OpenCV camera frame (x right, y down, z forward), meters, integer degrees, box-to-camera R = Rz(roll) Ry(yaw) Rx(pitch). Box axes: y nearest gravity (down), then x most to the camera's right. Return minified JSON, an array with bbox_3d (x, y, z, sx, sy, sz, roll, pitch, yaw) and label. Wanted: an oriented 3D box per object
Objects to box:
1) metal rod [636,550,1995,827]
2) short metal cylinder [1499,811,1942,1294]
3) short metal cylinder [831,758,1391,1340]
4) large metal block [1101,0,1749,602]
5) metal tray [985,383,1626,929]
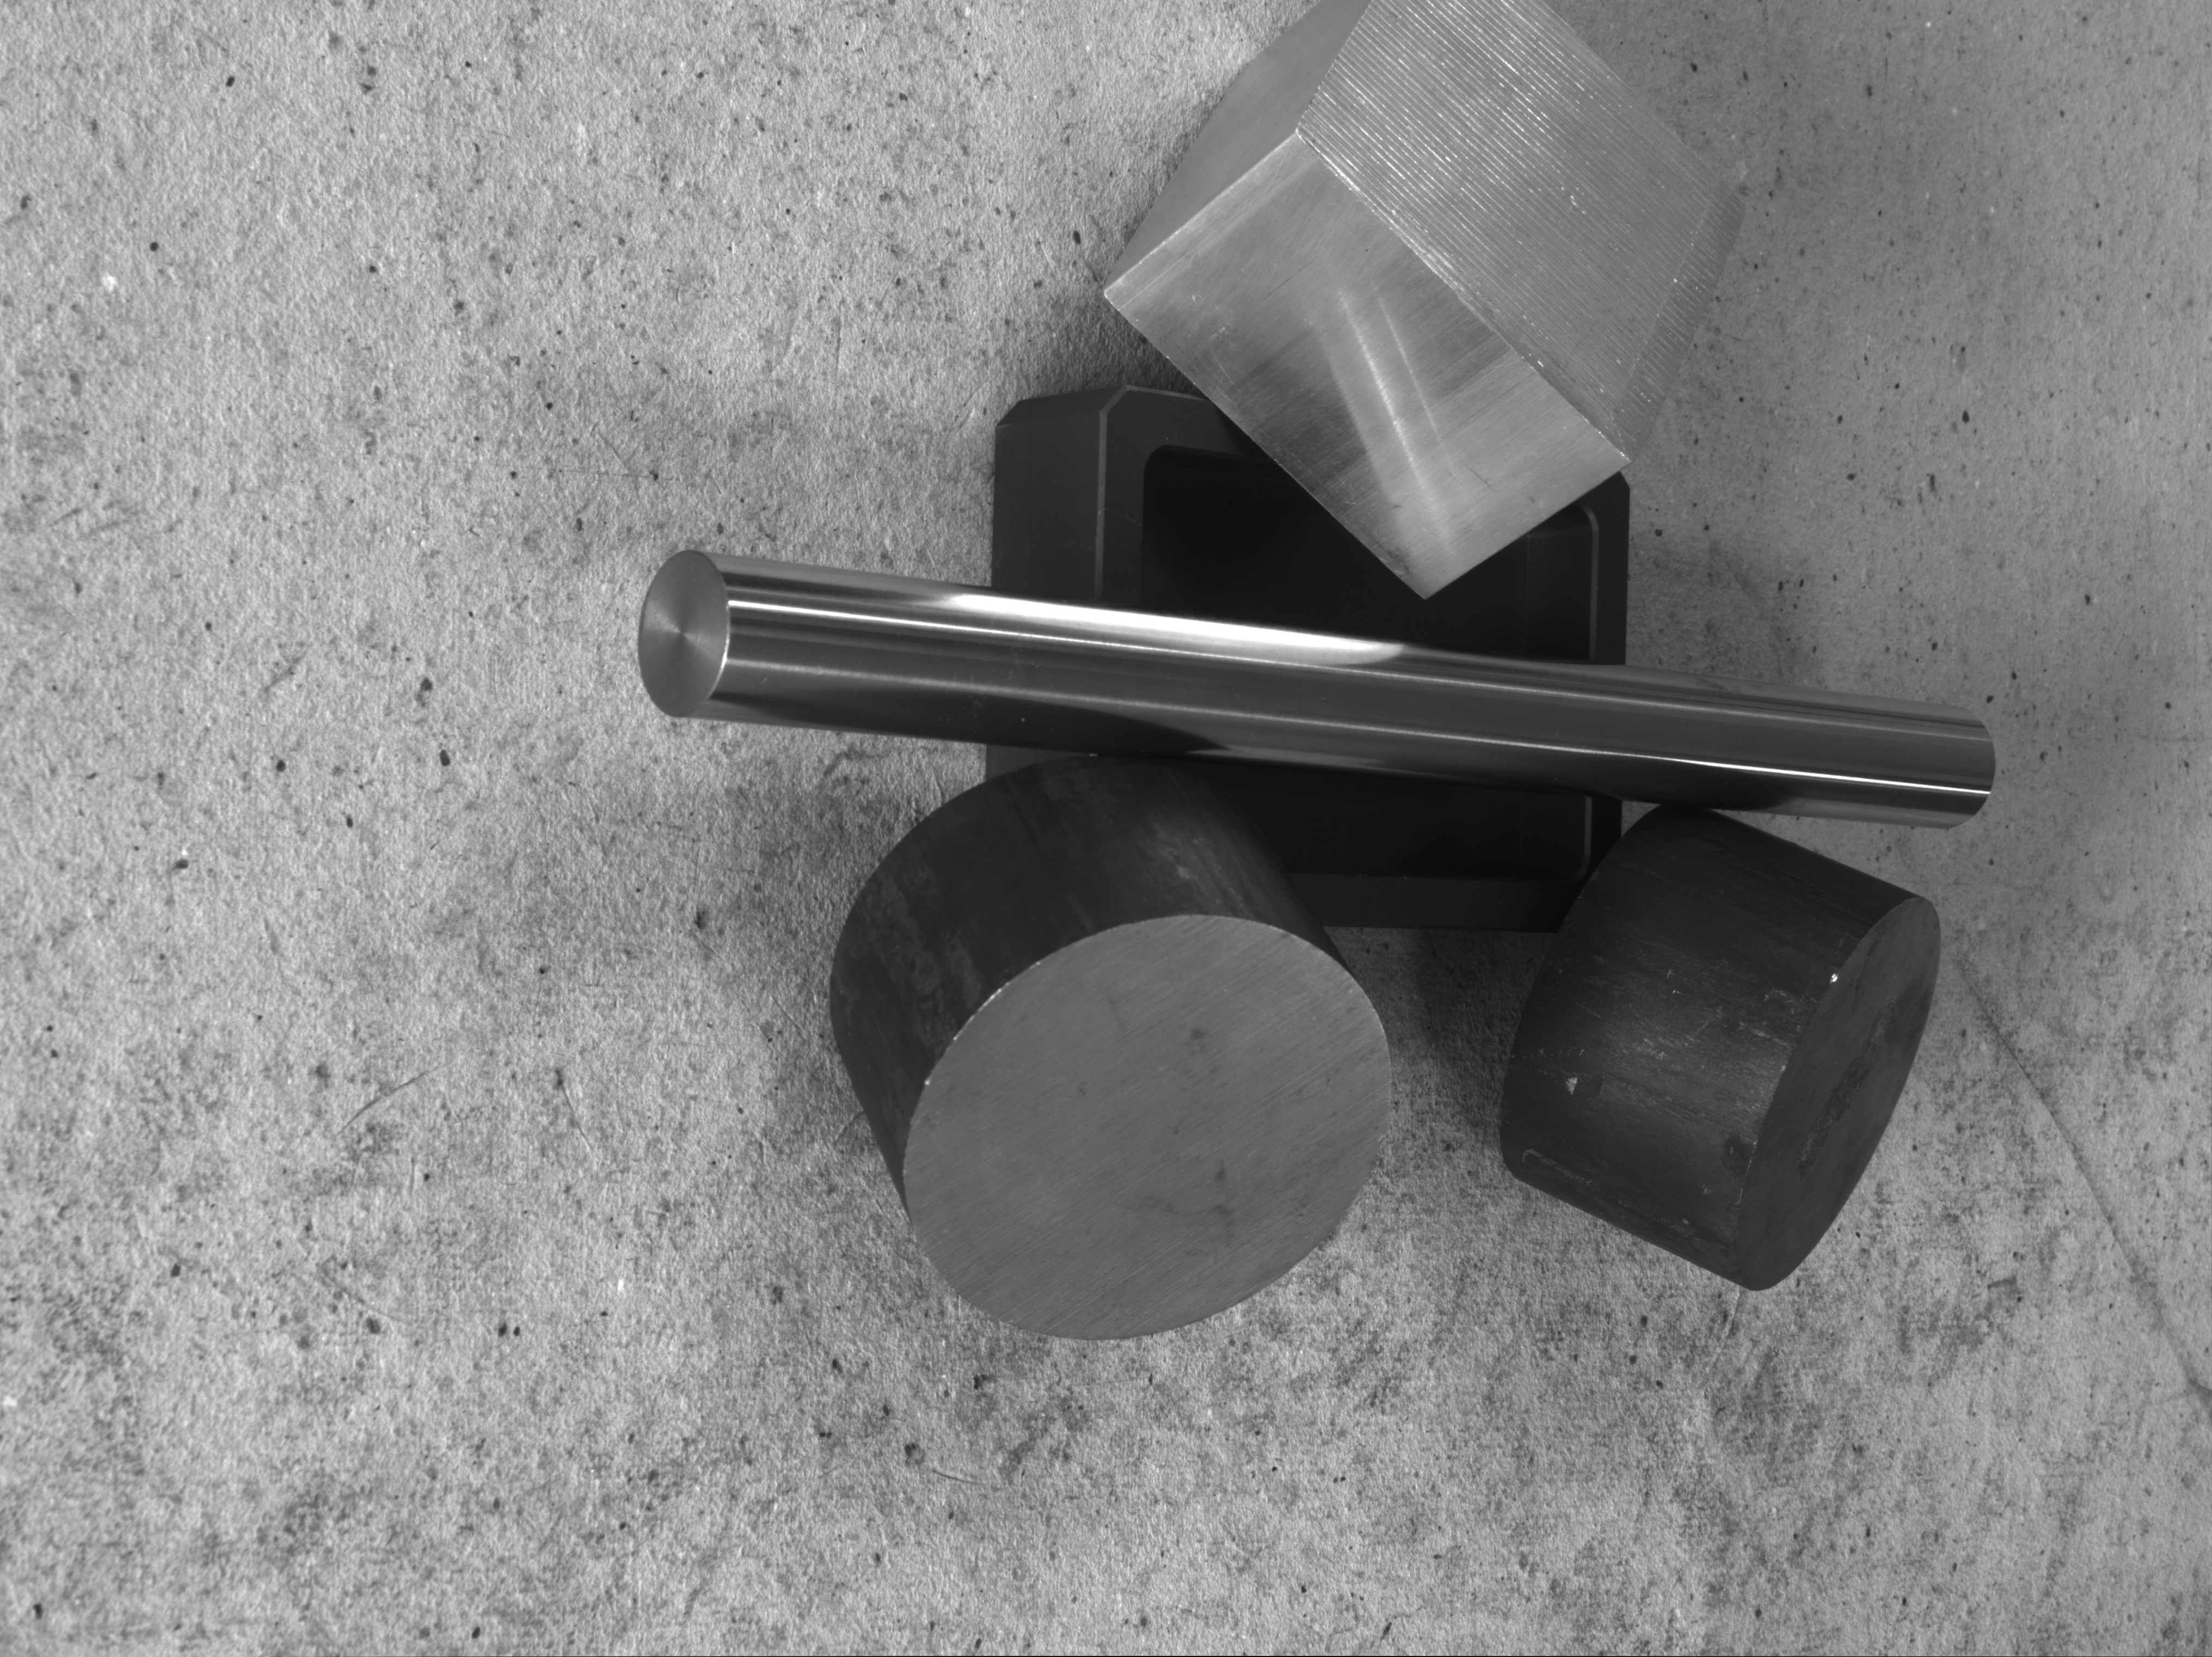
[{"bbox_3d":[0.053,-0.021,0.641,0.301,0.025,0.025,4,87,-40],"label":"metal rod"},{"bbox_3d":[0.117,0.041,0.696,0.080,0.050,0.080,-40,143,-40],"label":"short metal cylinder"},{"bbox_3d":[0.000,0.036,0.597,0.080,0.050,0.080,-9,122,-14],"label":"short metal cylinder"},{"bbox_3d":[0.057,-0.101,0.640,0.080,0.050,0.080,42,47,-14],"label":"large metal block"},{"bbox_3d":[0.039,-0.028,0.666,0.130,0.030,0.090,3,88,-40],"label":"metal tray"}]
